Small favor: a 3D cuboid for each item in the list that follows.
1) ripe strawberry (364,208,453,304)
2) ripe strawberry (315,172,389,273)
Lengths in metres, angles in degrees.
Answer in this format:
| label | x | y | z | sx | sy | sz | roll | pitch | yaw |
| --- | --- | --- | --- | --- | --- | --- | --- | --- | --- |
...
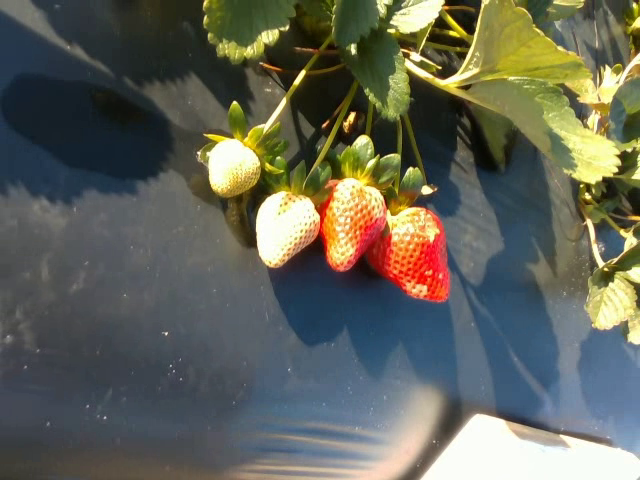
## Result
| label | x | y | z | sx | sy | sz | roll | pitch | yaw |
| --- | --- | --- | --- | --- | --- | --- | --- | --- | --- |
| ripe strawberry | 0.056 | 0.011 | 0.353 | 0.056 | 0.067 | 0.052 | -26 | -13 | -14 |
| ripe strawberry | 0.015 | -0.007 | 0.322 | 0.043 | 0.061 | 0.051 | -3 | -38 | 27 |
